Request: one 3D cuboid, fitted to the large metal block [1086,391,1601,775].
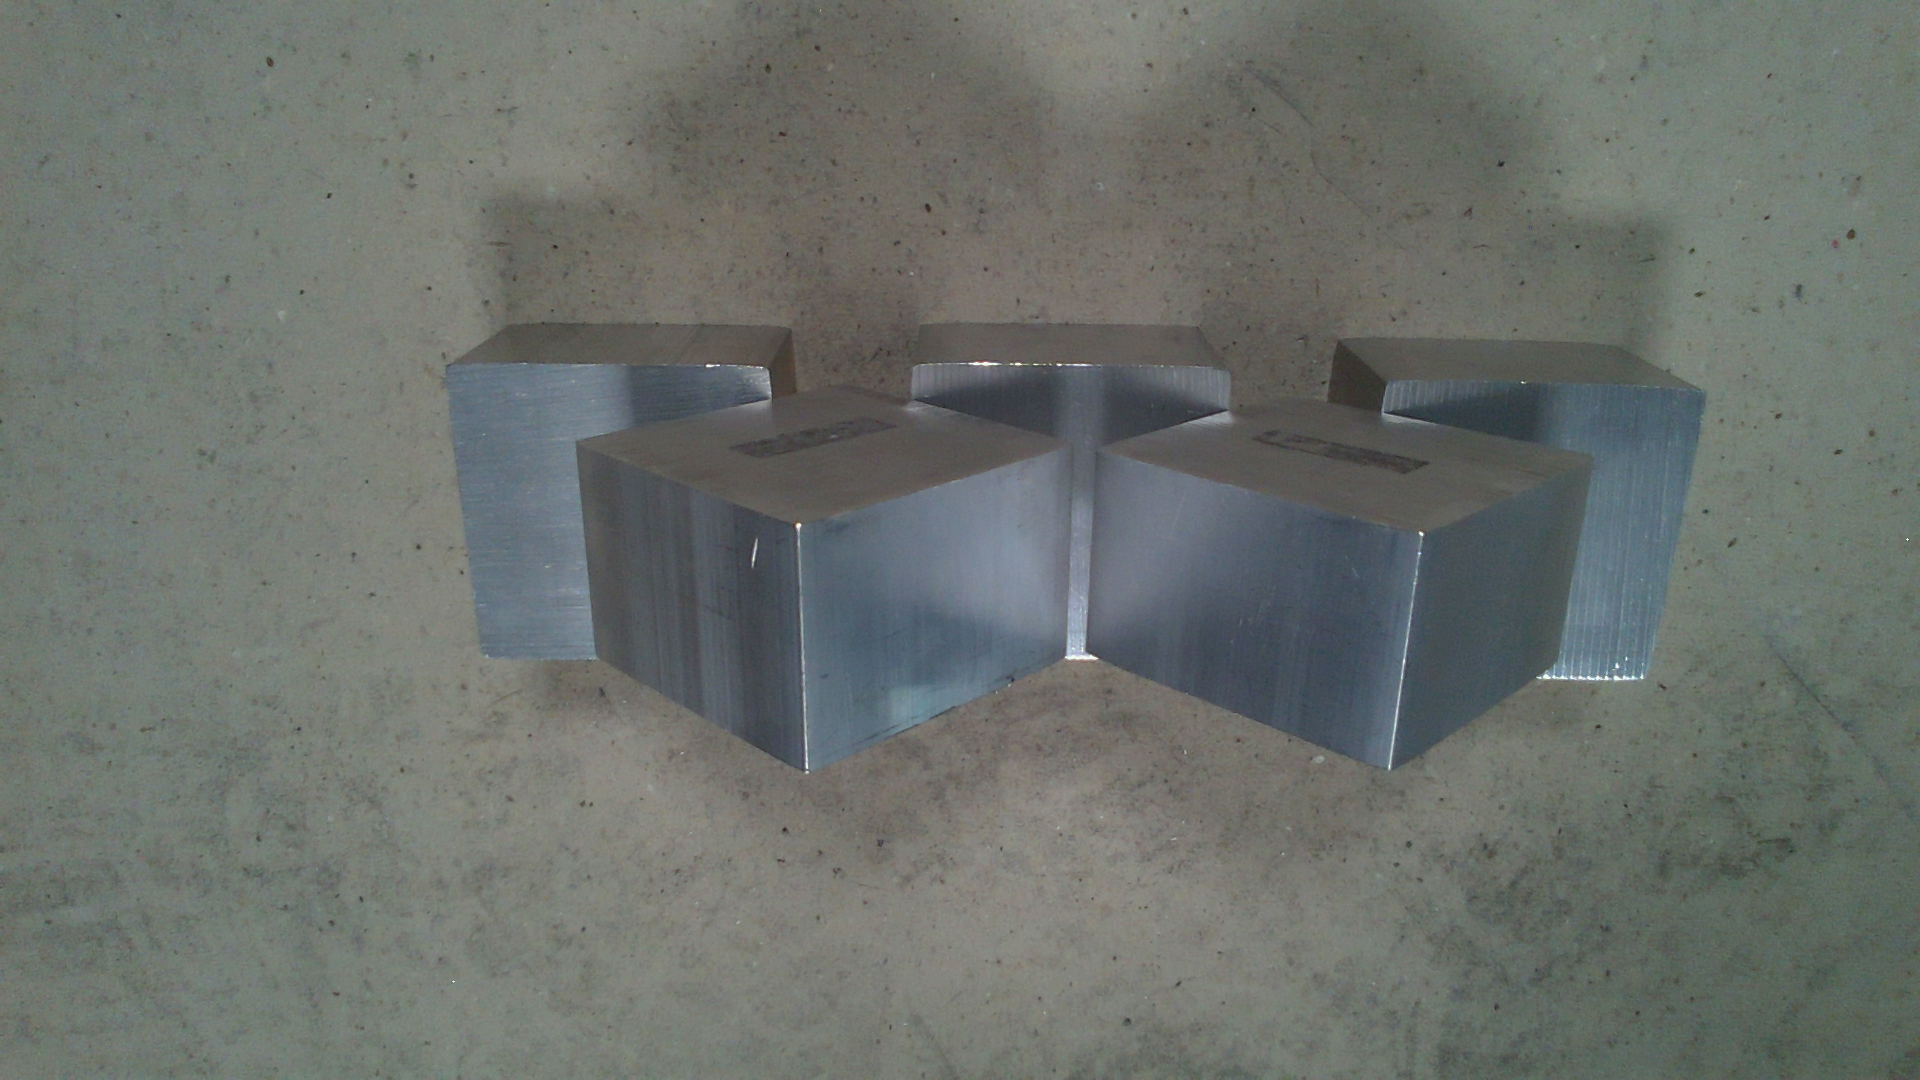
[{"bbox_3d":[0.087,0.004,0.316,0.080,0.080,0.050,19,117,41],"label":"large metal block"}]

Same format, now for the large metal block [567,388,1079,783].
[{"bbox_3d":[-0.030,0.004,0.313,0.080,0.080,0.050,-20,118,-41],"label":"large metal block"}]

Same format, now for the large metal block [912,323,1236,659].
[{"bbox_3d":[0.028,-0.014,0.376,0.080,0.050,0.080,1,110,0],"label":"large metal block"}]

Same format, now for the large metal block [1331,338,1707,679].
[{"bbox_3d":[0.145,-0.010,0.378,0.080,0.050,0.080,1,110,-1],"label":"large metal block"}]

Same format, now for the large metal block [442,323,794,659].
[{"bbox_3d":[-0.087,-0.015,0.375,0.080,0.050,0.080,0,110,0],"label":"large metal block"}]
